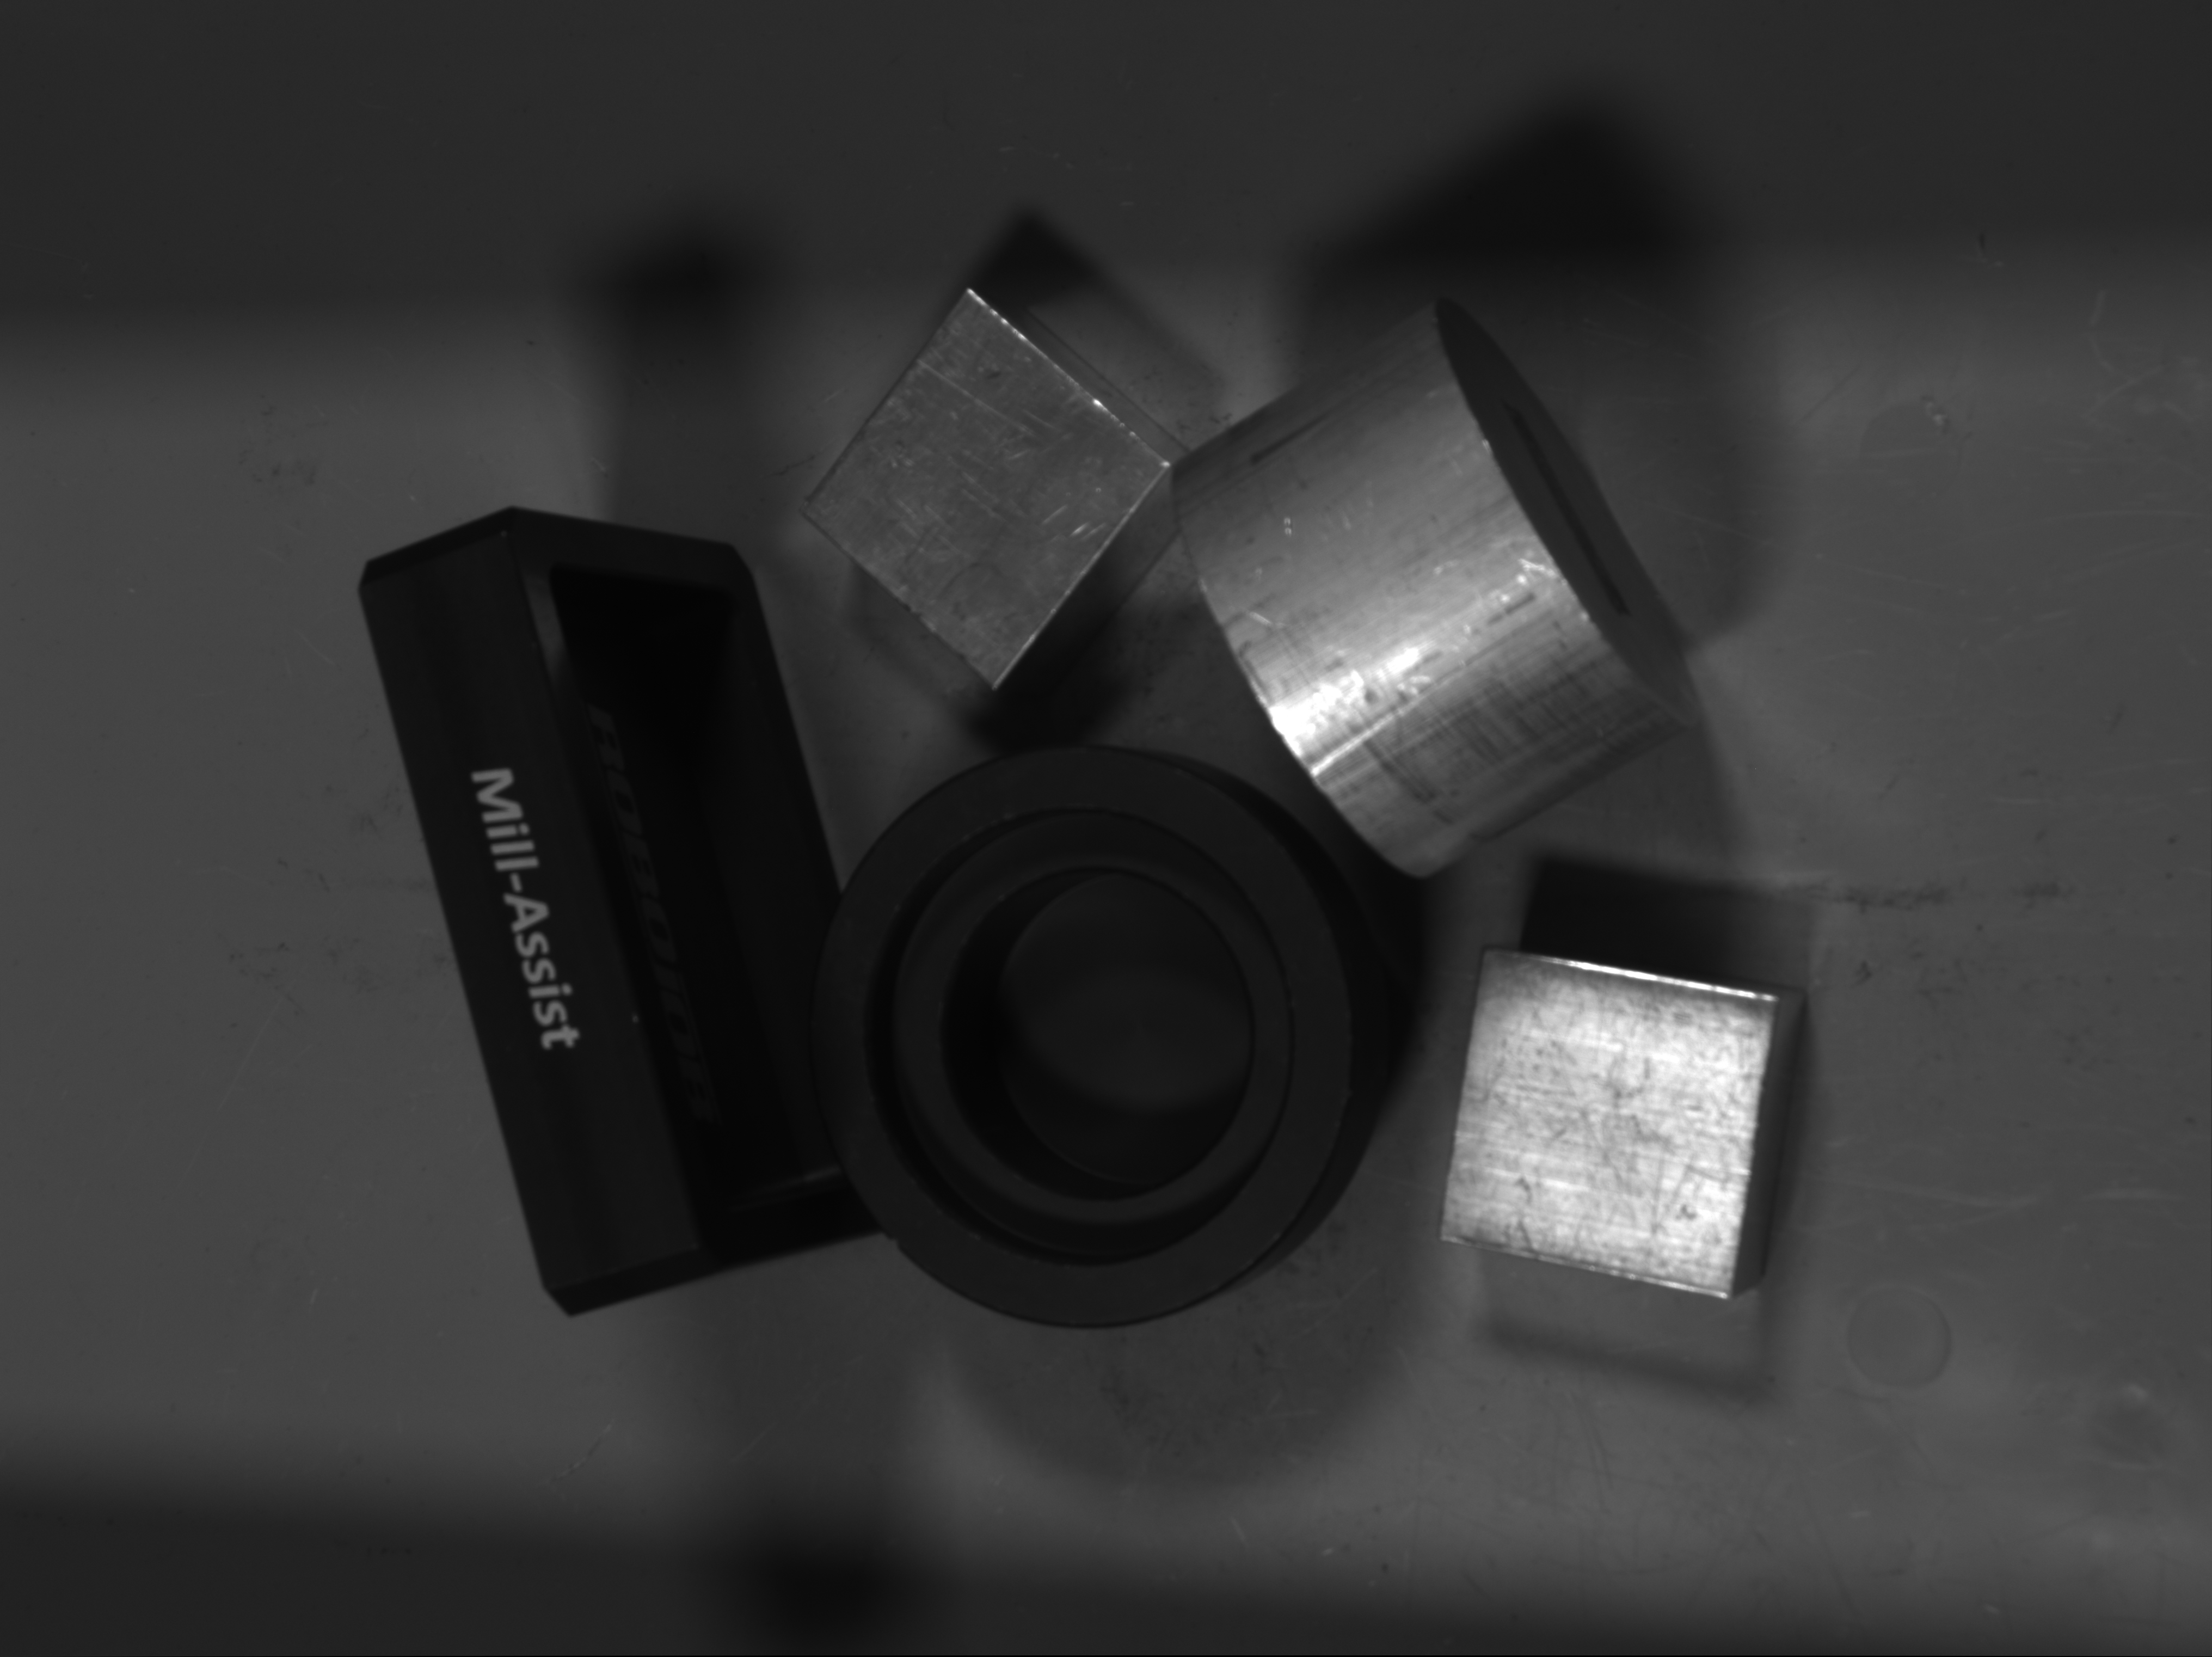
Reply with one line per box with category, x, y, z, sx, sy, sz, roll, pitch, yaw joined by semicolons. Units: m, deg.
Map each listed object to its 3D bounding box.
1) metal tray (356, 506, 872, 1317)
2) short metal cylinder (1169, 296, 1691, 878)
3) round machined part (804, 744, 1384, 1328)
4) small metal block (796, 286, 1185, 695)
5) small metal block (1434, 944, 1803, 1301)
metal tray;-0.079;0.013;0.637;0.030;0.090;0.130;-18;84;19
short metal cylinder;0.053;-0.039;0.595;0.050;0.080;0.080;-31;80;17
round machined part;0.001;0.035;0.632;0.098;0.042;0.098;0;90;20
small metal block;-0.018;-0.059;0.649;0.050;0.025;0.050;42;104;16
small metal block;0.086;0.048;0.612;0.050;0.025;0.050;10;93;21
